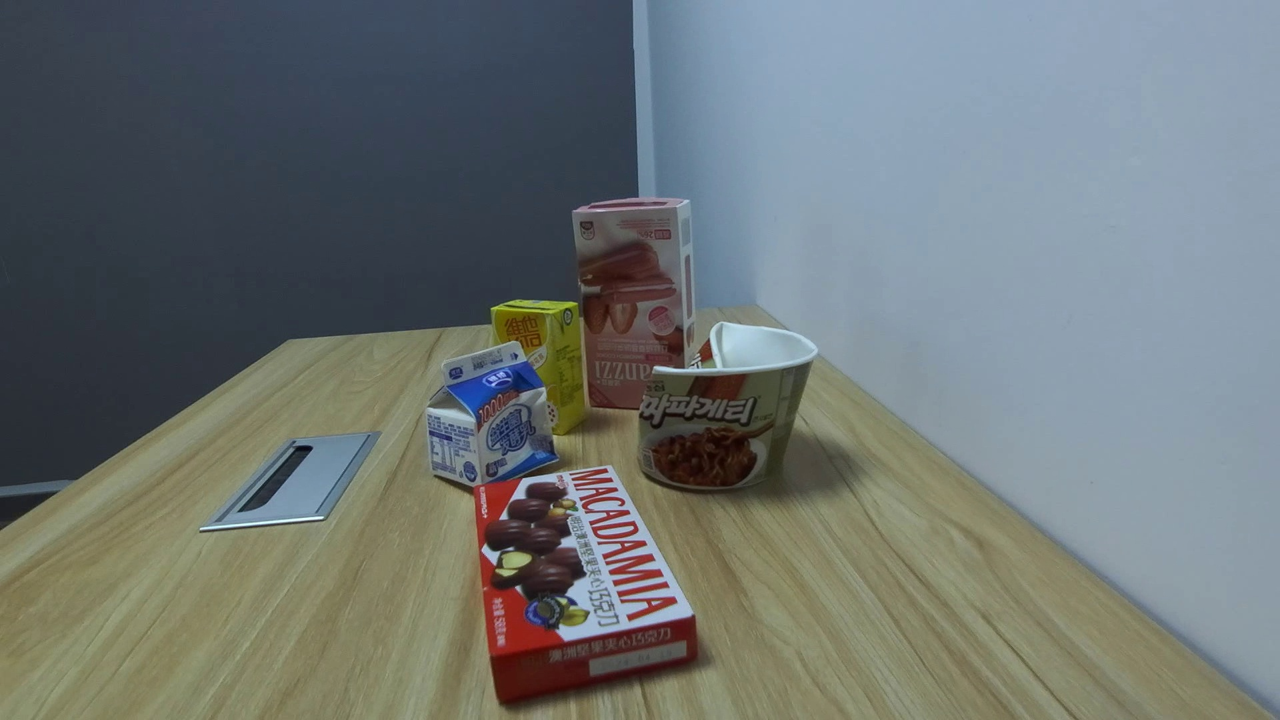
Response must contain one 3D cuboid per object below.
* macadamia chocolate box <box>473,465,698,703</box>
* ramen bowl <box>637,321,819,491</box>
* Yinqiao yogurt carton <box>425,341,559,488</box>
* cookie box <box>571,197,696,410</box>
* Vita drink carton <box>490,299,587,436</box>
[{"bbox_3d":[-0.040,0.111,0.395,0.096,0.027,0.177,-7,17,-13],"label":"macadamia chocolate box"},{"bbox_3d":[0.056,0.033,0.513,0.137,0.098,0.137,-4,19,2],"label":"ramen bowl"},{"bbox_3d":[-0.112,0.039,0.531,0.070,0.094,0.078,6,18,44],"label":"Yinqiao yogurt carton"},{"bbox_3d":[-0.005,-0.049,0.640,0.105,0.187,0.049,2,18,19],"label":"cookie box"},{"bbox_3d":[-0.086,0.004,0.616,0.066,0.109,0.044,6,19,28],"label":"Vita drink carton"}]
